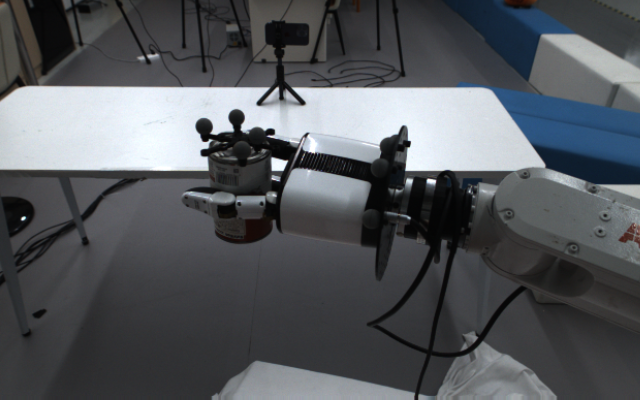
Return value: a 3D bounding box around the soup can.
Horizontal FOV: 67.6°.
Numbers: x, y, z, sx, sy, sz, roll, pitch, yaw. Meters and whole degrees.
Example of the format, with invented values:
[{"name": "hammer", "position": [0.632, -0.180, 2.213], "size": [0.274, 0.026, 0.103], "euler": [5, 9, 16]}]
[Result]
[{"name": "soup can", "position": [-0.084, -0.012, 0.529], "size": [0.067, 0.101, 0.067], "euler": [2, 32, -1]}]
